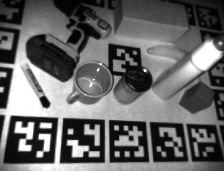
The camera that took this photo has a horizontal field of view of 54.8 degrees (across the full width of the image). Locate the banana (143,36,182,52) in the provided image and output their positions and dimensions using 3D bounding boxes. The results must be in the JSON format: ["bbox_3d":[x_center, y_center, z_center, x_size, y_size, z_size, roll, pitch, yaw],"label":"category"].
[{"bbox_3d":[0.191,-0.112,0.667,0.198,0.038,0.074,19,78,-12],"label":"banana"}]

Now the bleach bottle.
[{"bbox_3d":[0.188,-0.056,0.529,0.068,0.250,0.103,30,62,-2],"label":"bleach bottle"}]

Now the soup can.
[{"bbox_3d":[0.052,-0.010,0.543,0.068,0.102,0.067,8,63,-15],"label":"soup can"}]

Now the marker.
[{"bbox_3d":[-0.177,0.002,0.521,0.020,0.019,0.120,-28,80,-22],"label":"marker"}]

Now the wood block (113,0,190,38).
[{"bbox_3d":[0.116,-0.208,0.656,0.208,0.090,0.089,2,69,-17],"label":"wood block"}]

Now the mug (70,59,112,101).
[{"bbox_3d":[-0.057,-0.006,0.524,0.093,0.081,0.118,44,66,1],"label":"mug"}]

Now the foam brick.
[{"bbox_3d":[0.244,0.024,0.613,0.053,0.078,0.051,34,61,1],"label":"foam brick"}]

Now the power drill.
[{"bbox_3d":[-0.113,-0.139,0.579,0.185,0.057,0.187,32,62,-7],"label":"power drill"}]
